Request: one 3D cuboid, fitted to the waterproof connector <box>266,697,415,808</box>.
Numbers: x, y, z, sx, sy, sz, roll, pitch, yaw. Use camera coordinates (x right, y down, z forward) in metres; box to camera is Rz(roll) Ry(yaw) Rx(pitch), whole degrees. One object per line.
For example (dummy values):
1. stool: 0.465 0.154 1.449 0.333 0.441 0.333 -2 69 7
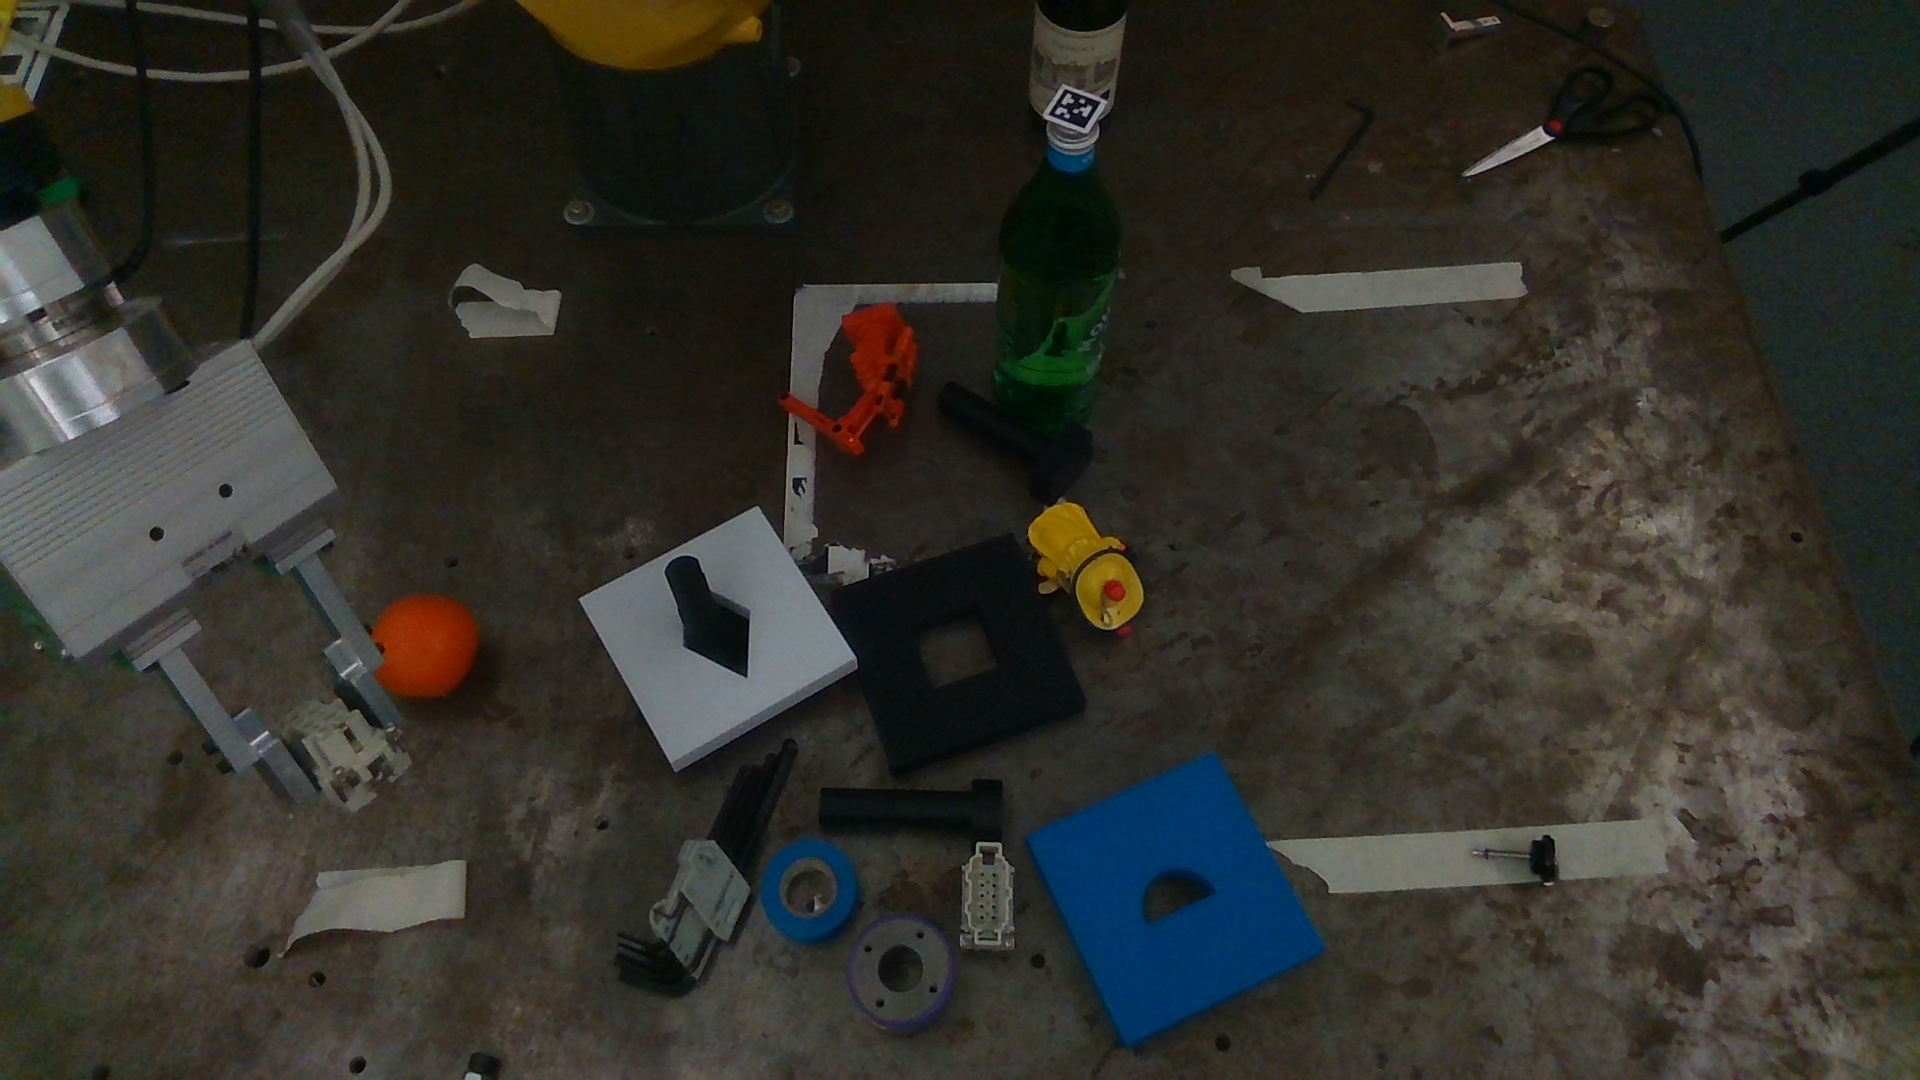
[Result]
1. waterproof connector: -0.279 0.092 0.623 0.069 0.038 0.036 4 43 38
